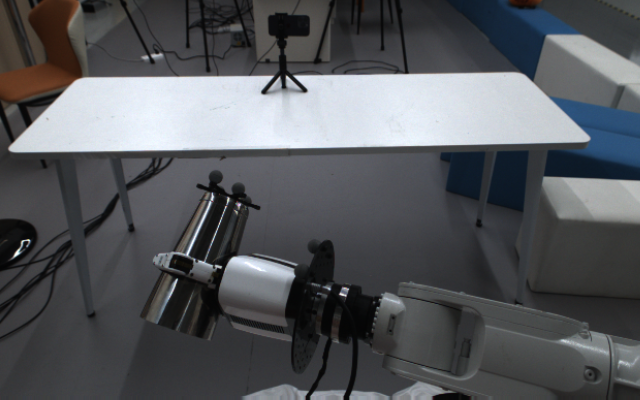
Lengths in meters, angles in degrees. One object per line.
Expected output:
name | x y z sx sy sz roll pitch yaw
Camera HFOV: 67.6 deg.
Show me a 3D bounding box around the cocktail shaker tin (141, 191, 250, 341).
cocktail shaker tin | -0.149 0.082 0.615 0.093 0.093 0.170 14 73 16
